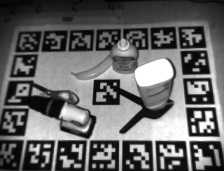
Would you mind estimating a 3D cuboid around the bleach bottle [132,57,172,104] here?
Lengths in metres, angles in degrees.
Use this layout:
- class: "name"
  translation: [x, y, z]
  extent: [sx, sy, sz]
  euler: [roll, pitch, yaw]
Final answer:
- class: "bleach bottle"
  translation: [0.128, 0.001, 0.657]
  extent: [0.102, 0.253, 0.067]
  euler: [-22, 65, 5]

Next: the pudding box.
- class: "pudding box"
  translation: [-0.210, 0.040, 0.769]
  extent: [0.113, 0.090, 0.038]
  euler: [2, 63, 6]

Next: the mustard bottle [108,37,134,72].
- class: "mustard bottle"
  translation: [0.027, -0.111, 0.756]
  extent: [0.096, 0.192, 0.058]
  euler: [12, 71, 9]

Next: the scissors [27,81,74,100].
- class: "scissors"
  translation: [-0.226, 0.011, 0.712]
  extent: [0.202, 0.016, 0.088]
  euler: [24, 78, 7]

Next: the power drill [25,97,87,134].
- class: "power drill"
  translation: [-0.161, 0.090, 0.664]
  extent: [0.183, 0.188, 0.057]
  euler: [10, 64, 12]

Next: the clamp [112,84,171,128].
- class: "clamp"
  translation: [0.104, 0.053, 0.752]
  extent: [0.203, 0.037, 0.165]
  euler: [-7, 72, 0]

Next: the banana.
- class: "banana"
  translation: [-0.073, -0.099, 0.830]
  extent: [0.198, 0.039, 0.073]
  euler: [-39, 54, -9]
